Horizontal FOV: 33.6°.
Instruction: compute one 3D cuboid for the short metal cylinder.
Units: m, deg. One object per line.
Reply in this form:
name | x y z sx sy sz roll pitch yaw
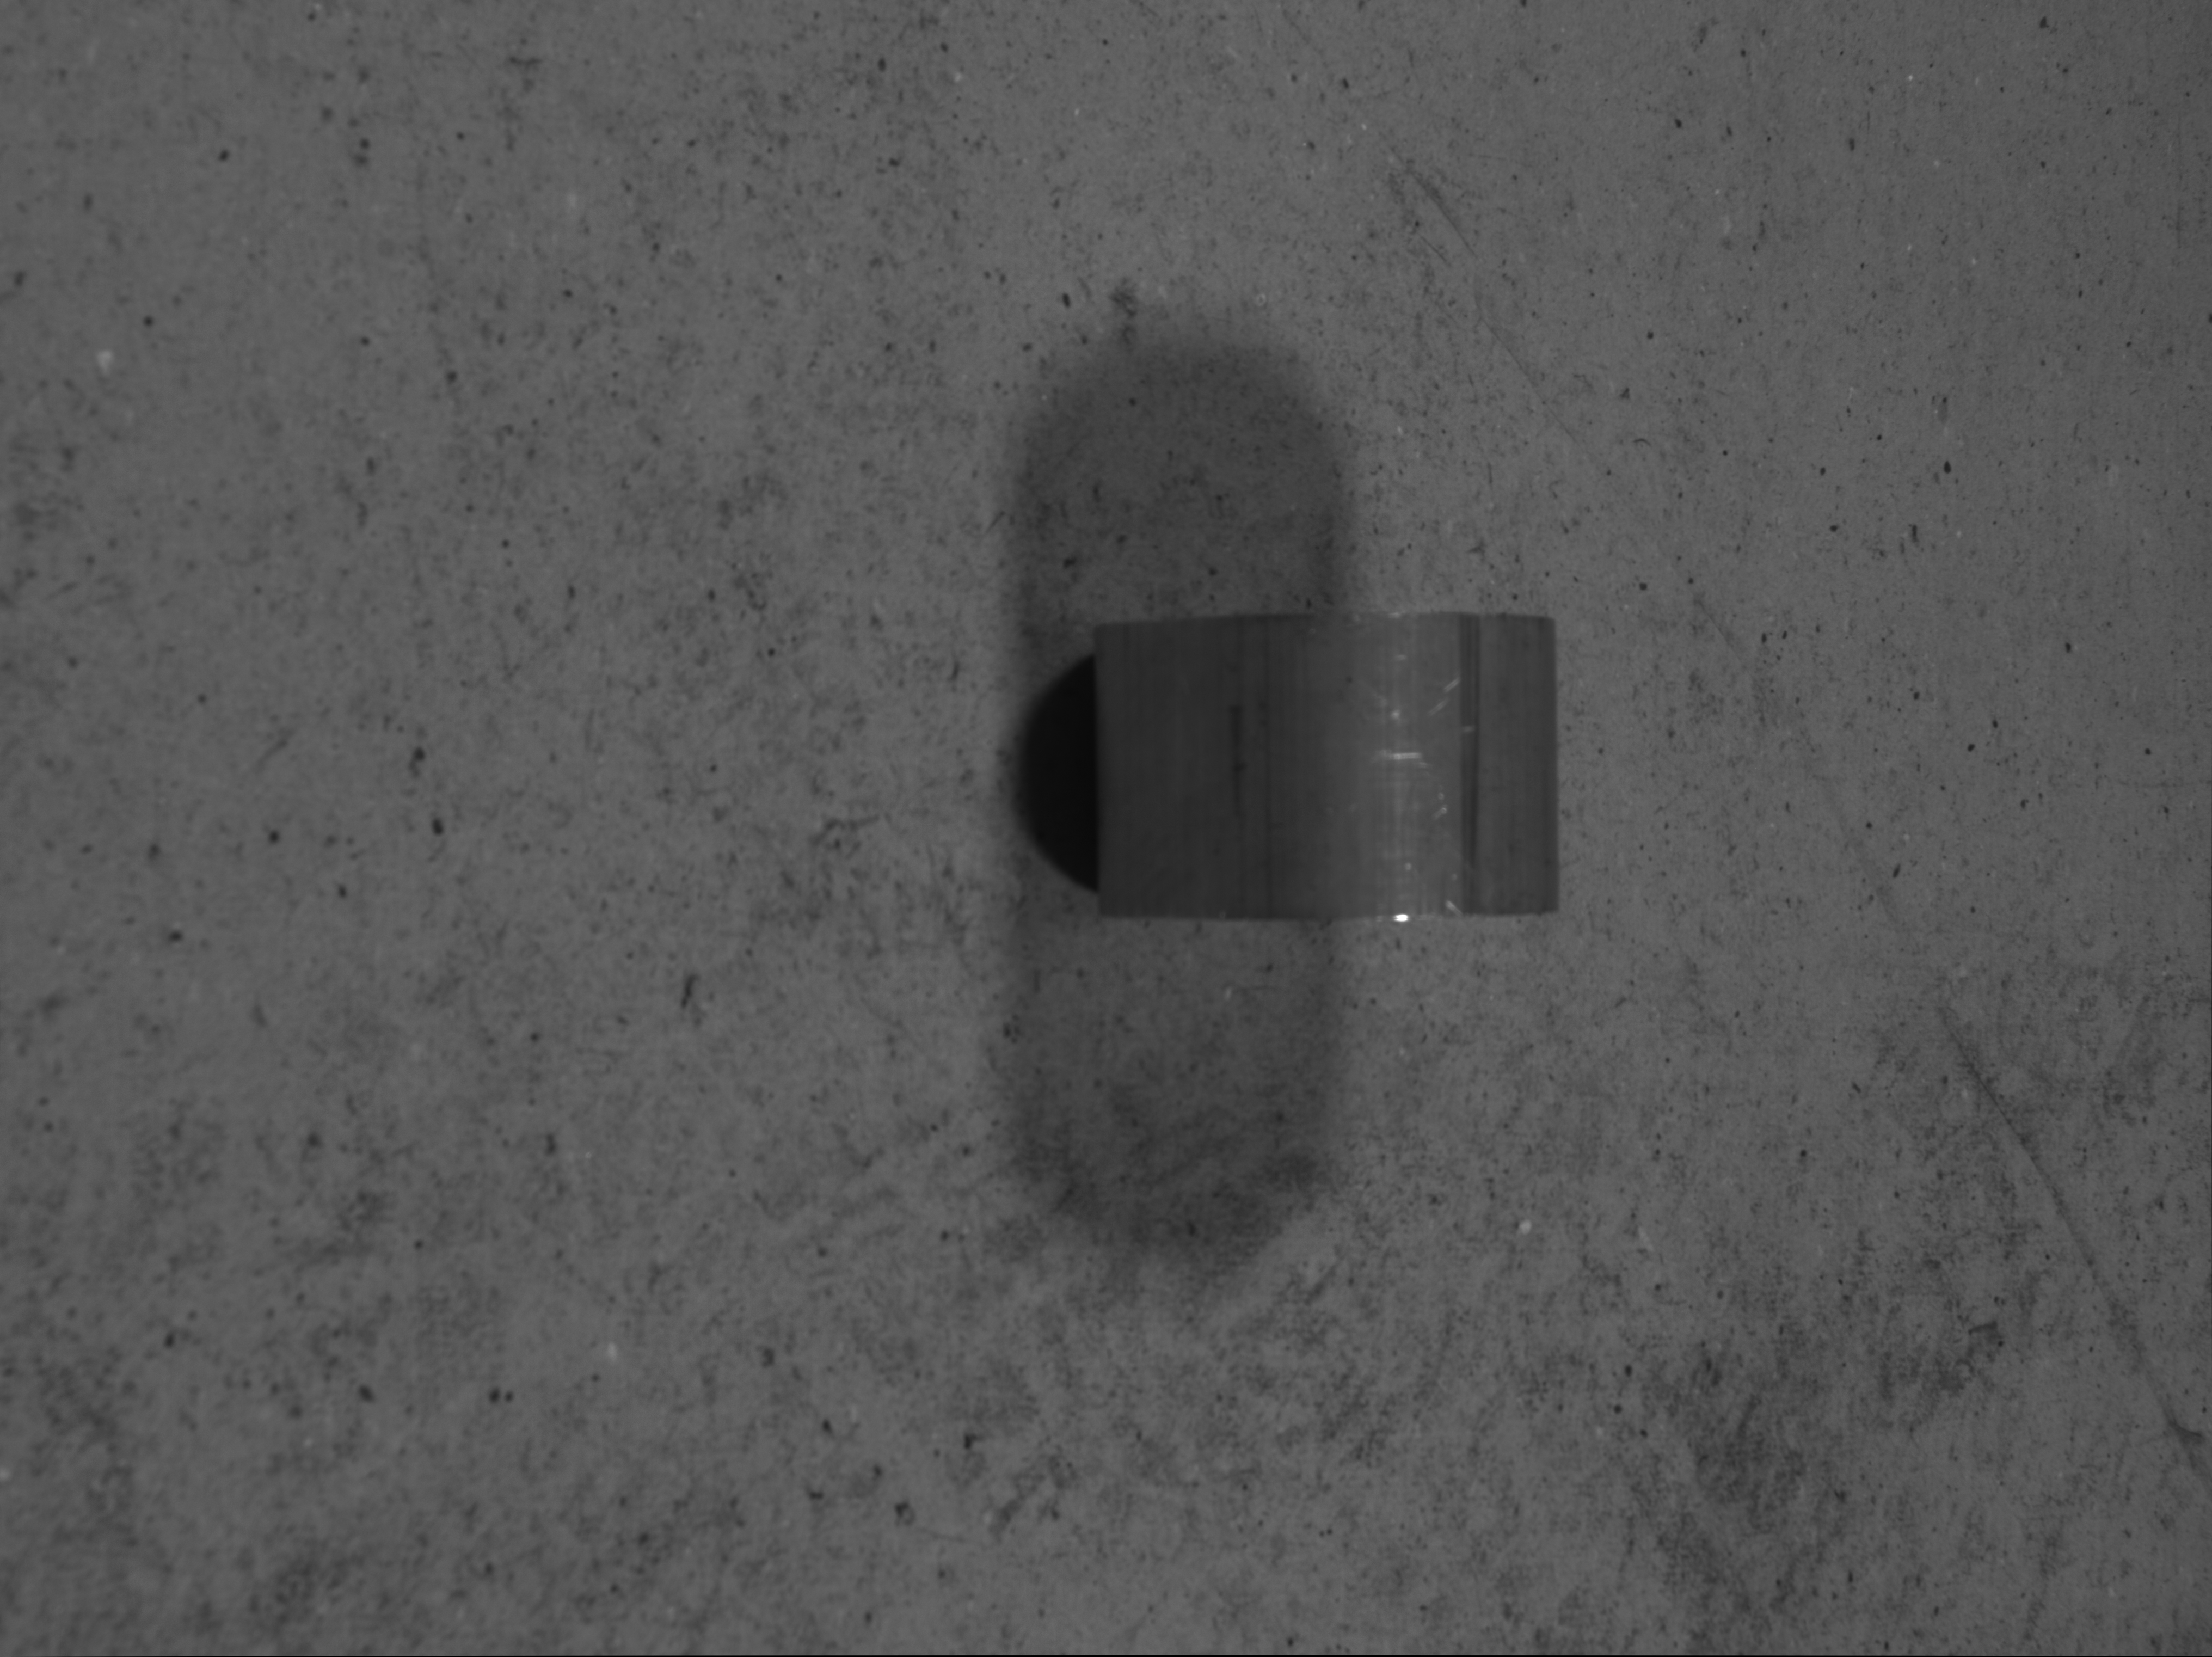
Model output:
short metal cylinder | 0.041 -0.010 0.636 0.080 0.080 0.050 -1 91 -40
